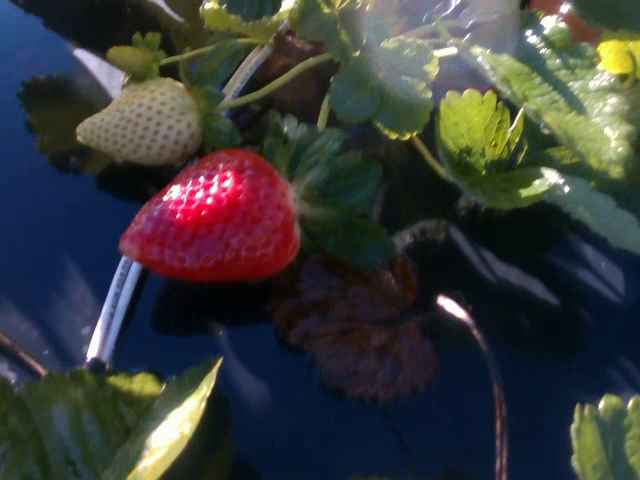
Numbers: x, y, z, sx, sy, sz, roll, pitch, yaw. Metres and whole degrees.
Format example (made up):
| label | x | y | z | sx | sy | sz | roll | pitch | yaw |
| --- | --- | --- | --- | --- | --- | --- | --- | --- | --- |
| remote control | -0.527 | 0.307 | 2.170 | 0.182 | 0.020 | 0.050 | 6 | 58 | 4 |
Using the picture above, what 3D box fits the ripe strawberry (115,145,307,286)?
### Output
| label | x | y | z | sx | sy | sz | roll | pitch | yaw |
| --- | --- | --- | --- | --- | --- | --- | --- | --- | --- |
| ripe strawberry | -0.031 | -0.007 | 0.205 | 0.080 | 0.063 | 0.040 | -19 | 1 | -39 |
